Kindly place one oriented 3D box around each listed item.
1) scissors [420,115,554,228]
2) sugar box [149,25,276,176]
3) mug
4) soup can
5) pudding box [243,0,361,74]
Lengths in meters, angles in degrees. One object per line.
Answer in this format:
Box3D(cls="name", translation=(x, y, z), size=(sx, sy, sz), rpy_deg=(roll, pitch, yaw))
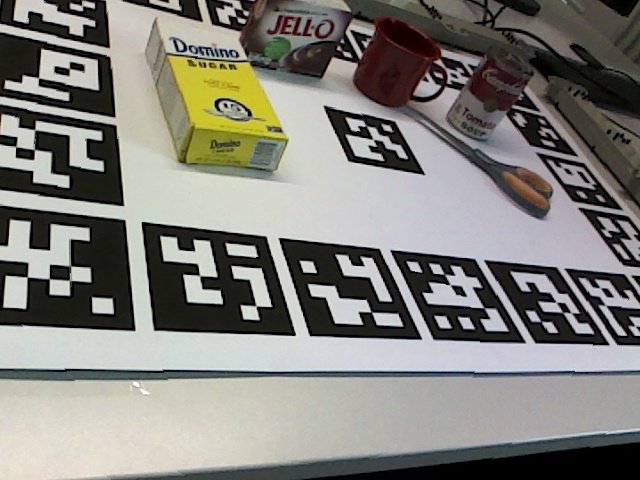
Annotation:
Box3D(cls="scissors", translation=(0.207, -0.098, 0.778), size=(0.203, 0.016, 0.087), rpy_deg=(40, 51, 8))
Box3D(cls="sugar box", translation=(-0.110, -0.141, 0.612), size=(0.092, 0.045, 0.177), rpy_deg=(2, 50, -28))
Box3D(cls="mug", translation=(0.105, -0.229, 0.798), size=(0.117, 0.081, 0.093), rpy_deg=(42, 44, 14))
Box3D(cls="soup can", translation=(0.218, -0.191, 0.824), size=(0.067, 0.102, 0.068), rpy_deg=(16, 42, -16))
Box3D(cls="pudding box", translation=(-0.023, -0.246, 0.725), size=(0.113, 0.090, 0.039), rpy_deg=(-3, 58, -34))
